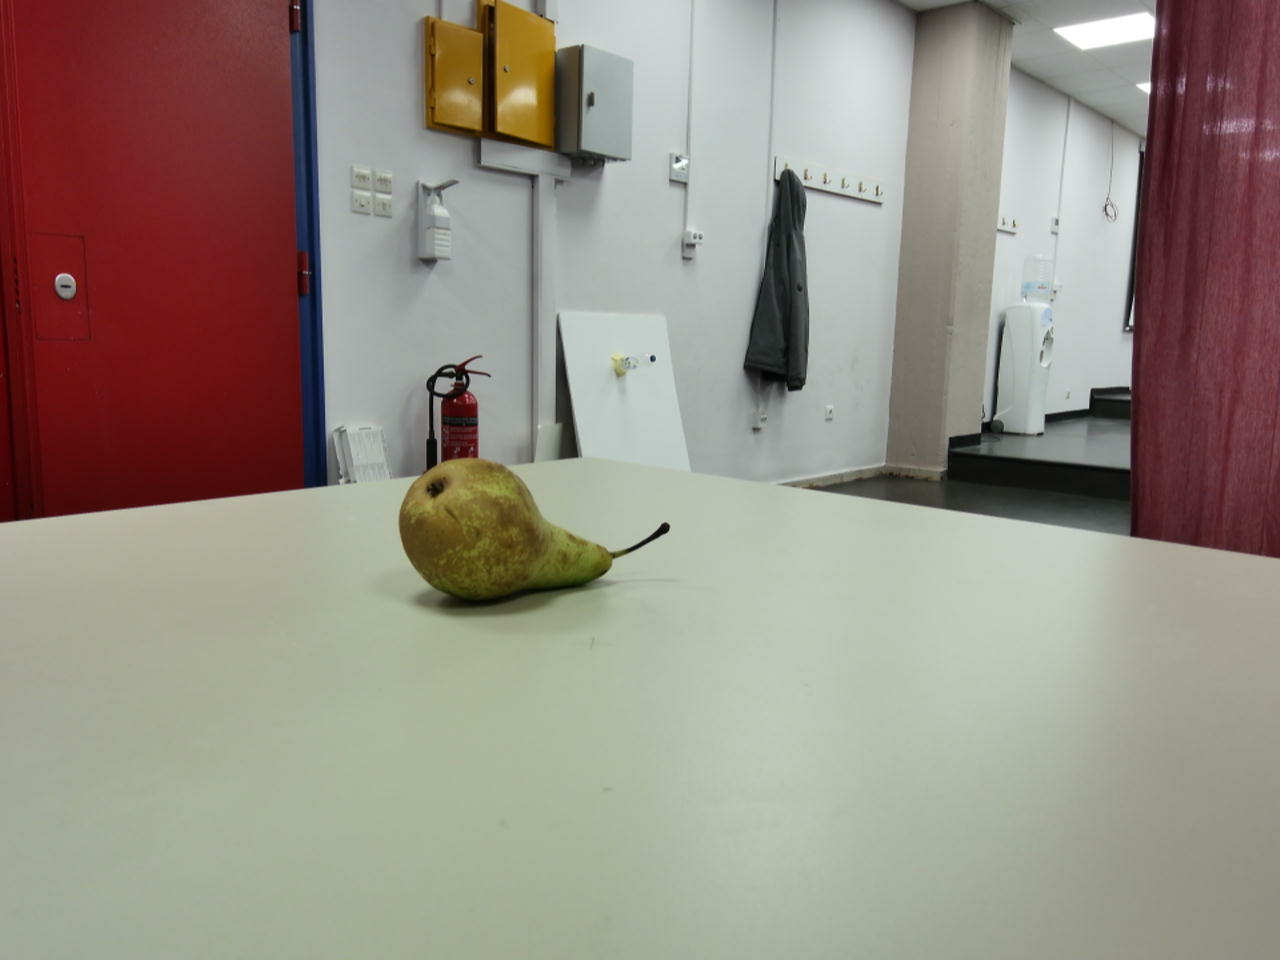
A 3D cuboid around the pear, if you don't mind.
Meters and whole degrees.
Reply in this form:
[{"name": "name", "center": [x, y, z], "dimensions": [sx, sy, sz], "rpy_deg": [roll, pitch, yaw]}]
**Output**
[{"name": "pear", "center": [-0.062, 0.023, 0.548], "dimensions": [0.144, 0.075, 0.072], "rpy_deg": [-6, 9, -41]}]
